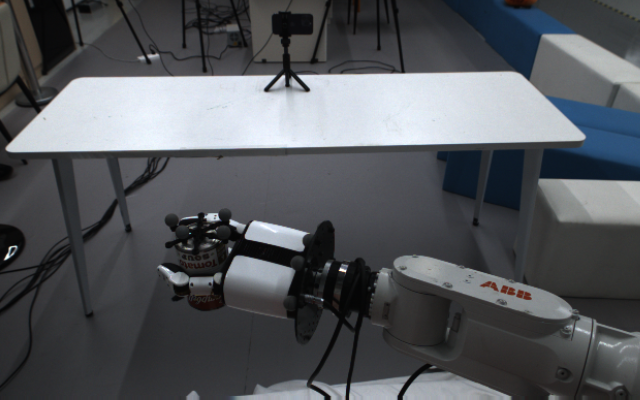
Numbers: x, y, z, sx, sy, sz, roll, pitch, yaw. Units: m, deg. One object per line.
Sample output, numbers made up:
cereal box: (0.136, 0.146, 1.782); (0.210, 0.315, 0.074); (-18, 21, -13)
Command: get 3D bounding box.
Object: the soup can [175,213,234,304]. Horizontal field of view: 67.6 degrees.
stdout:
soup can: (-0.152, 0.089, 0.649); (0.067, 0.101, 0.067); (-2, 32, 1)
